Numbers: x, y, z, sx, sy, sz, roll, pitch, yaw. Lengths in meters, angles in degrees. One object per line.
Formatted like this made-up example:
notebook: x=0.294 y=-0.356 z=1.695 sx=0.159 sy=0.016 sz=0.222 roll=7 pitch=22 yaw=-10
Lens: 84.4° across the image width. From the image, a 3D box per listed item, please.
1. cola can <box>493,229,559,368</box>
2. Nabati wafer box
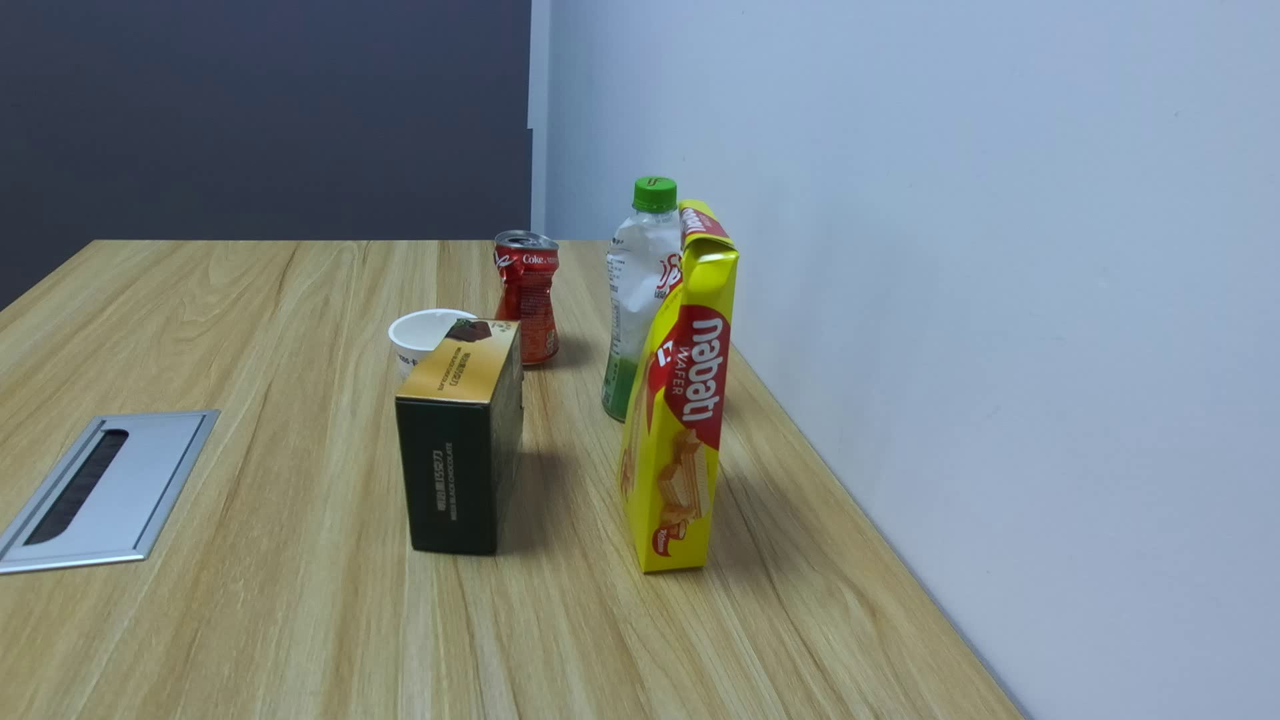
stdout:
cola can: x=-0.103 y=-0.055 z=0.632 sx=0.065 sy=0.112 sz=0.069 roll=7 pitch=27 yaw=3
Nabati wafer box: x=0.021 y=0.016 z=0.414 sx=0.043 sy=0.205 sz=0.113 roll=0 pitch=28 yaw=-12
